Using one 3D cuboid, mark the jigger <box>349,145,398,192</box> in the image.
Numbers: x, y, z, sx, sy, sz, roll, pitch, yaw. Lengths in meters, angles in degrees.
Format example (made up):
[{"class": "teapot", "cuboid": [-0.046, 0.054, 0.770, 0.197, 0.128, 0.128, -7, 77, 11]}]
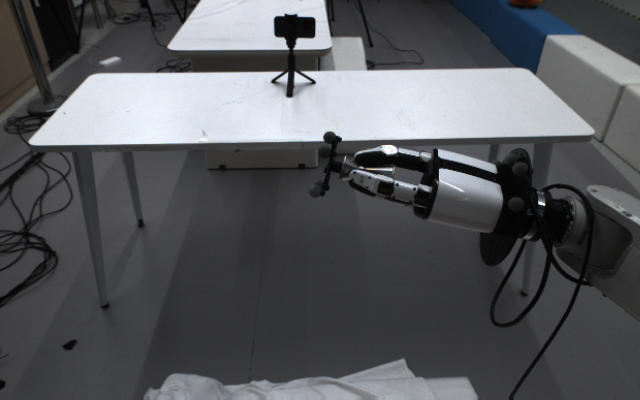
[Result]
[{"class": "jigger", "cuboid": [0.069, -0.037, 0.650, 0.071, 0.043, 0.043, 14, 36, 4]}]
